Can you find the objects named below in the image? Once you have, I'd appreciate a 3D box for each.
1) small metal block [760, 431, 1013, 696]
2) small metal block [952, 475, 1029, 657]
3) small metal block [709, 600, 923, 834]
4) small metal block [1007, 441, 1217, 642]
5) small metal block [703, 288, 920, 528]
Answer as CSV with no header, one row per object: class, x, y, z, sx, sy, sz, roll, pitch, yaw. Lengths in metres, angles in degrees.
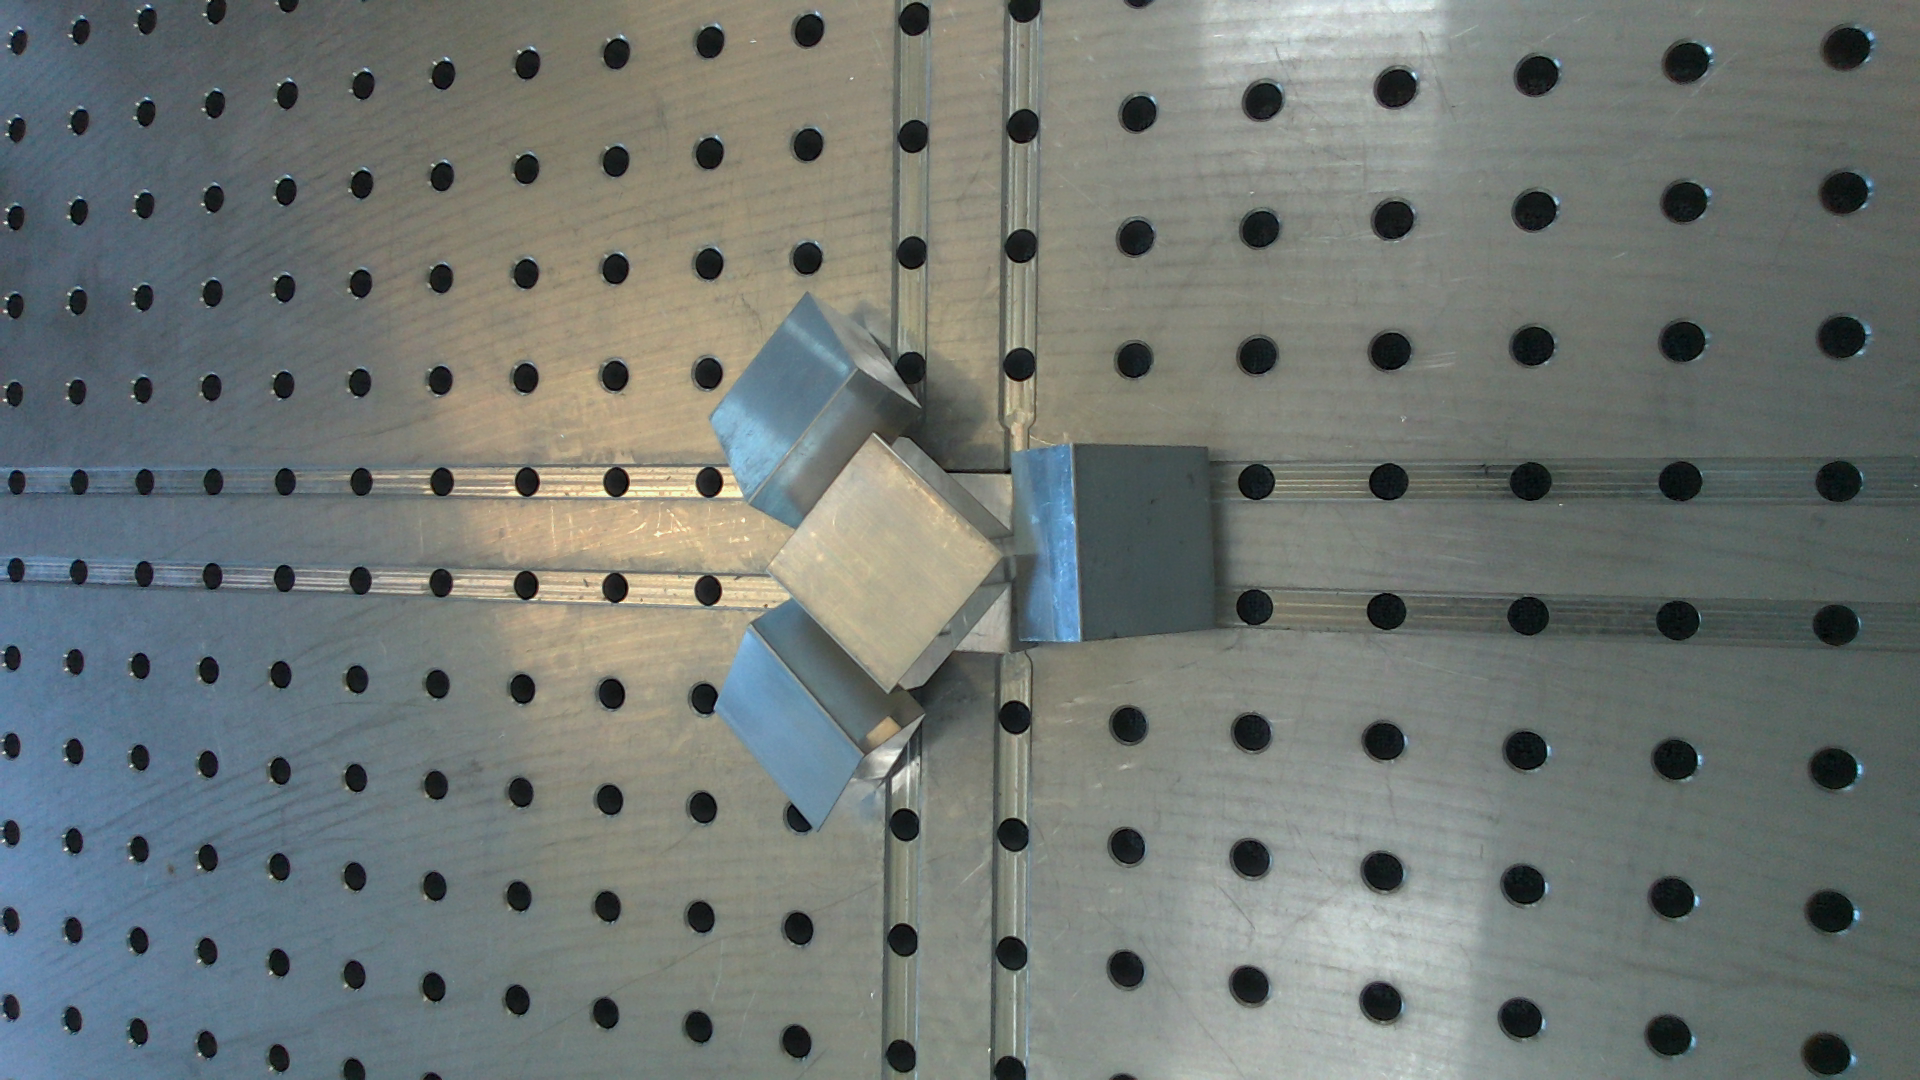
small metal block,-0.018,0.006,0.378,0.050,0.025,0.050,43,103,14
small metal block,-0.005,0.006,0.400,0.050,0.025,0.050,2,93,20
small metal block,-0.043,0.050,0.400,0.050,0.025,0.050,47,142,14
small metal block,0.041,0.000,0.367,0.025,0.050,0.050,-4,88,53
small metal block,-0.045,-0.037,0.401,0.050,0.025,0.050,-49,39,14
